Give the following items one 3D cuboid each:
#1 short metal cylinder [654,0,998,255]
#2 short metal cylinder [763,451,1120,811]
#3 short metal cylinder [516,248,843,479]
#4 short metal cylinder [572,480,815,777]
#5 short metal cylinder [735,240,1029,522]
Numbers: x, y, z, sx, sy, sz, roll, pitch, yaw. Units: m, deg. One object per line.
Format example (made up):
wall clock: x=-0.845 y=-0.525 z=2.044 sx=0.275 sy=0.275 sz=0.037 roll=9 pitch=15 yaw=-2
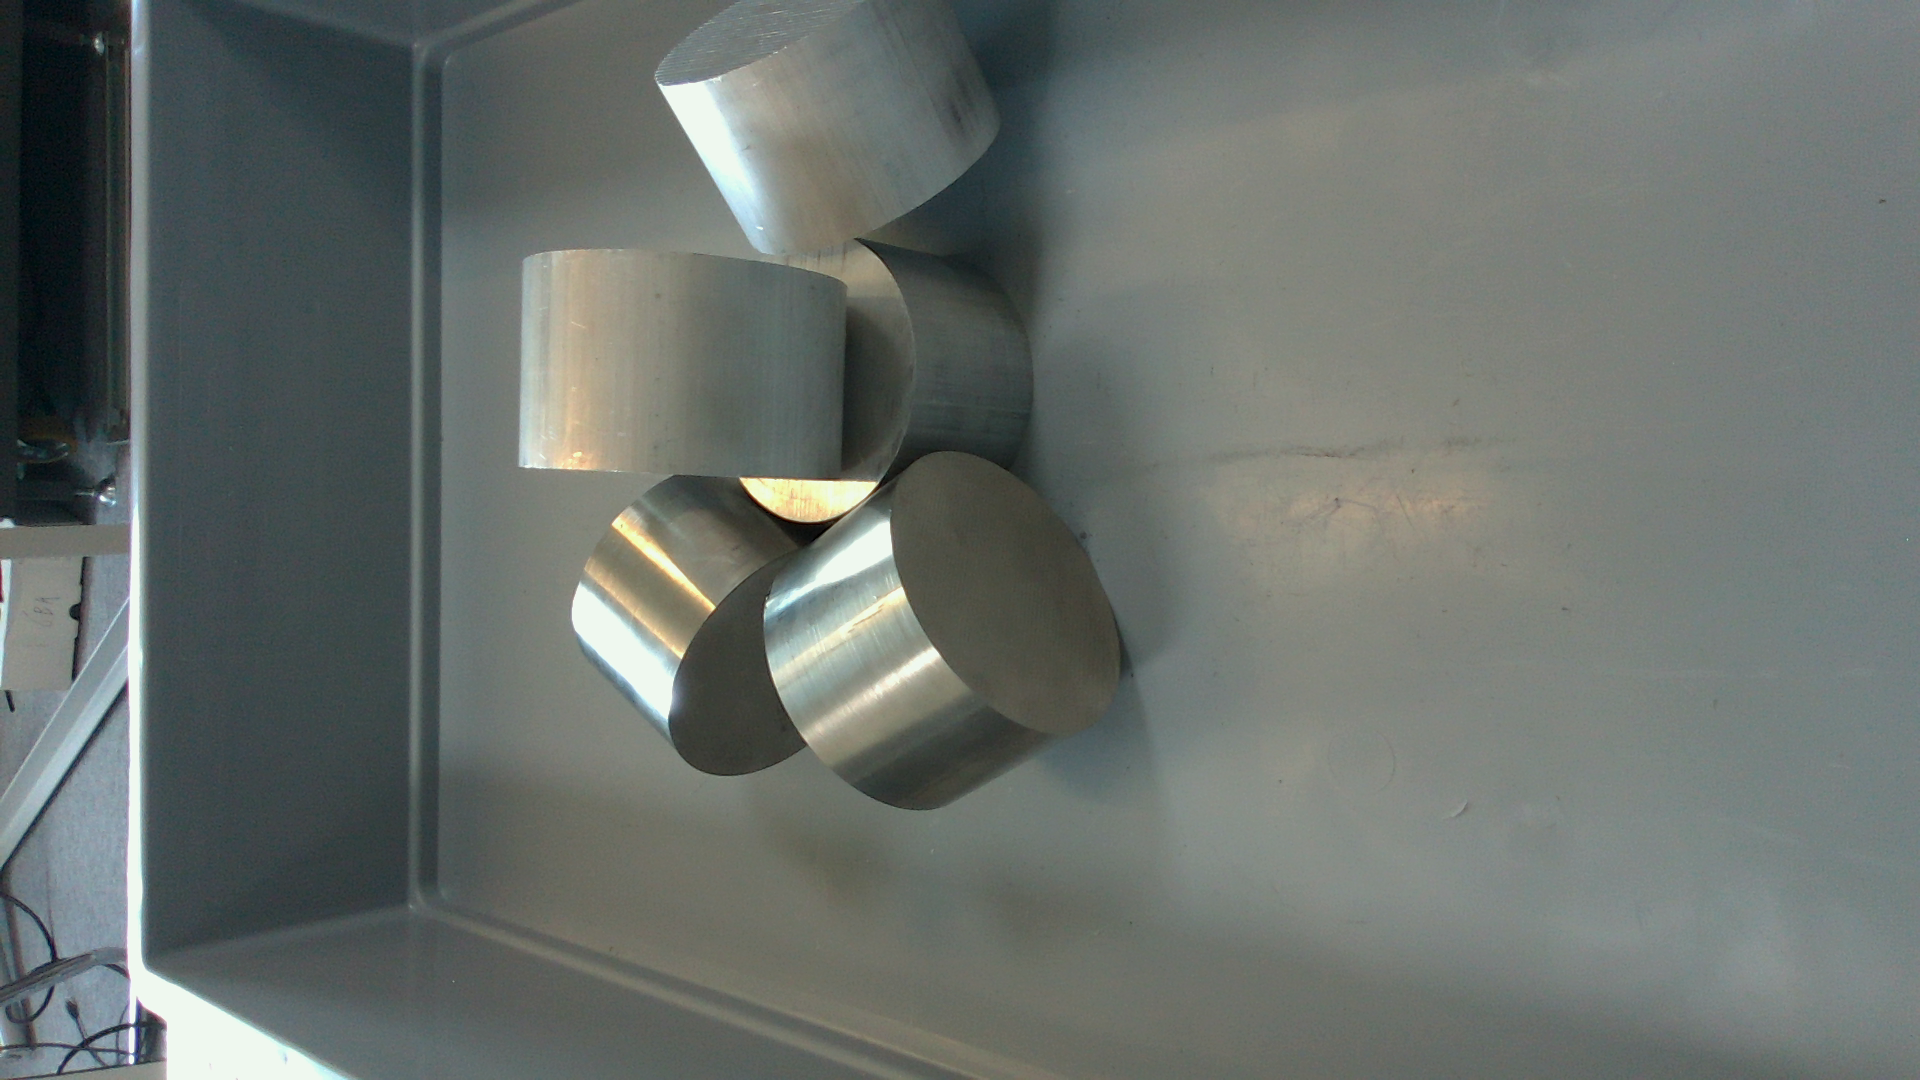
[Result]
short metal cylinder: x=-0.036 y=-0.123 z=0.379 sx=0.080 sy=0.080 sz=0.050 roll=5 pitch=136 yaw=40
short metal cylinder: x=-0.004 y=0.024 z=0.361 sx=0.050 sy=0.080 sz=0.080 roll=-36 pitch=68 yaw=35
short metal cylinder: x=-0.071 y=-0.042 z=0.351 sx=0.080 sy=0.080 sz=0.050 roll=4 pitch=93 yaw=40
short metal cylinder: x=-0.068 y=0.024 z=0.414 sx=0.050 sy=0.080 sz=0.080 roll=36 pitch=112 yaw=35
short metal cylinder: x=-0.027 y=-0.045 z=0.398 sx=0.080 sy=0.050 sz=0.080 roll=0 pitch=90 yaw=40
